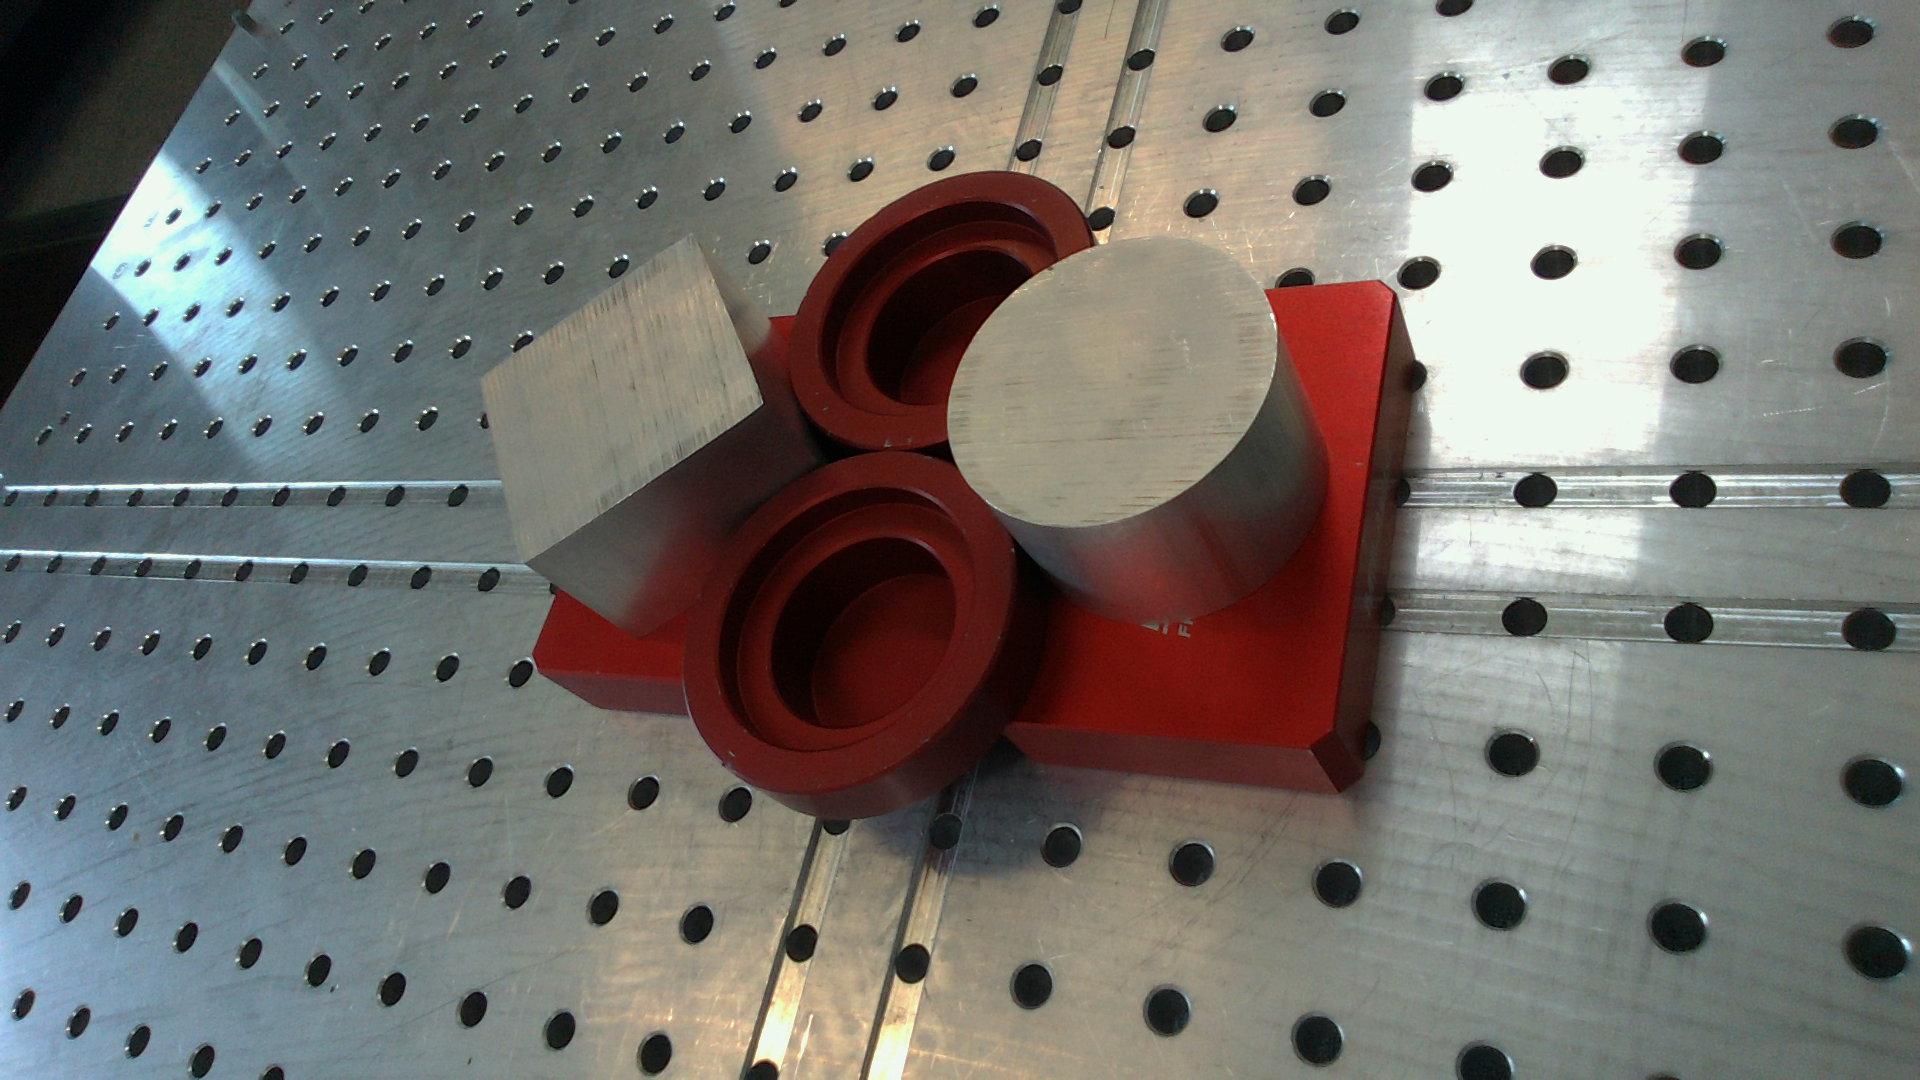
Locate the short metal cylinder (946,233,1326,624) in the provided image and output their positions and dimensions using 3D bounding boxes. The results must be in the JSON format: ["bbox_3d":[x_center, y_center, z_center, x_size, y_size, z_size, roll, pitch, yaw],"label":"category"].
[{"bbox_3d":[0.043,-0.027,0.333,0.080,0.050,0.080,-13,56,21],"label":"short metal cylinder"}]

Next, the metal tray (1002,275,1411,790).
[{"bbox_3d":[0.064,-0.005,0.360,0.090,0.030,0.130,1,62,29],"label":"metal tray"}]

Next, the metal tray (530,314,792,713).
[{"bbox_3d":[-0.073,-0.010,0.439,0.090,0.030,0.130,1,62,28],"label":"metal tray"}]

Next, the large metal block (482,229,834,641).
[{"bbox_3d":[-0.088,-0.031,0.408,0.080,0.050,0.080,-32,51,8],"label":"large metal block"}]

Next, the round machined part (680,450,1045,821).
[{"bbox_3d":[-0.022,0.028,0.369,0.098,0.042,0.098,-13,56,21],"label":"round machined part"}]

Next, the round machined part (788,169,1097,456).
[{"bbox_3d":[0.001,-0.059,0.409,0.098,0.042,0.098,-13,56,21],"label":"round machined part"}]
